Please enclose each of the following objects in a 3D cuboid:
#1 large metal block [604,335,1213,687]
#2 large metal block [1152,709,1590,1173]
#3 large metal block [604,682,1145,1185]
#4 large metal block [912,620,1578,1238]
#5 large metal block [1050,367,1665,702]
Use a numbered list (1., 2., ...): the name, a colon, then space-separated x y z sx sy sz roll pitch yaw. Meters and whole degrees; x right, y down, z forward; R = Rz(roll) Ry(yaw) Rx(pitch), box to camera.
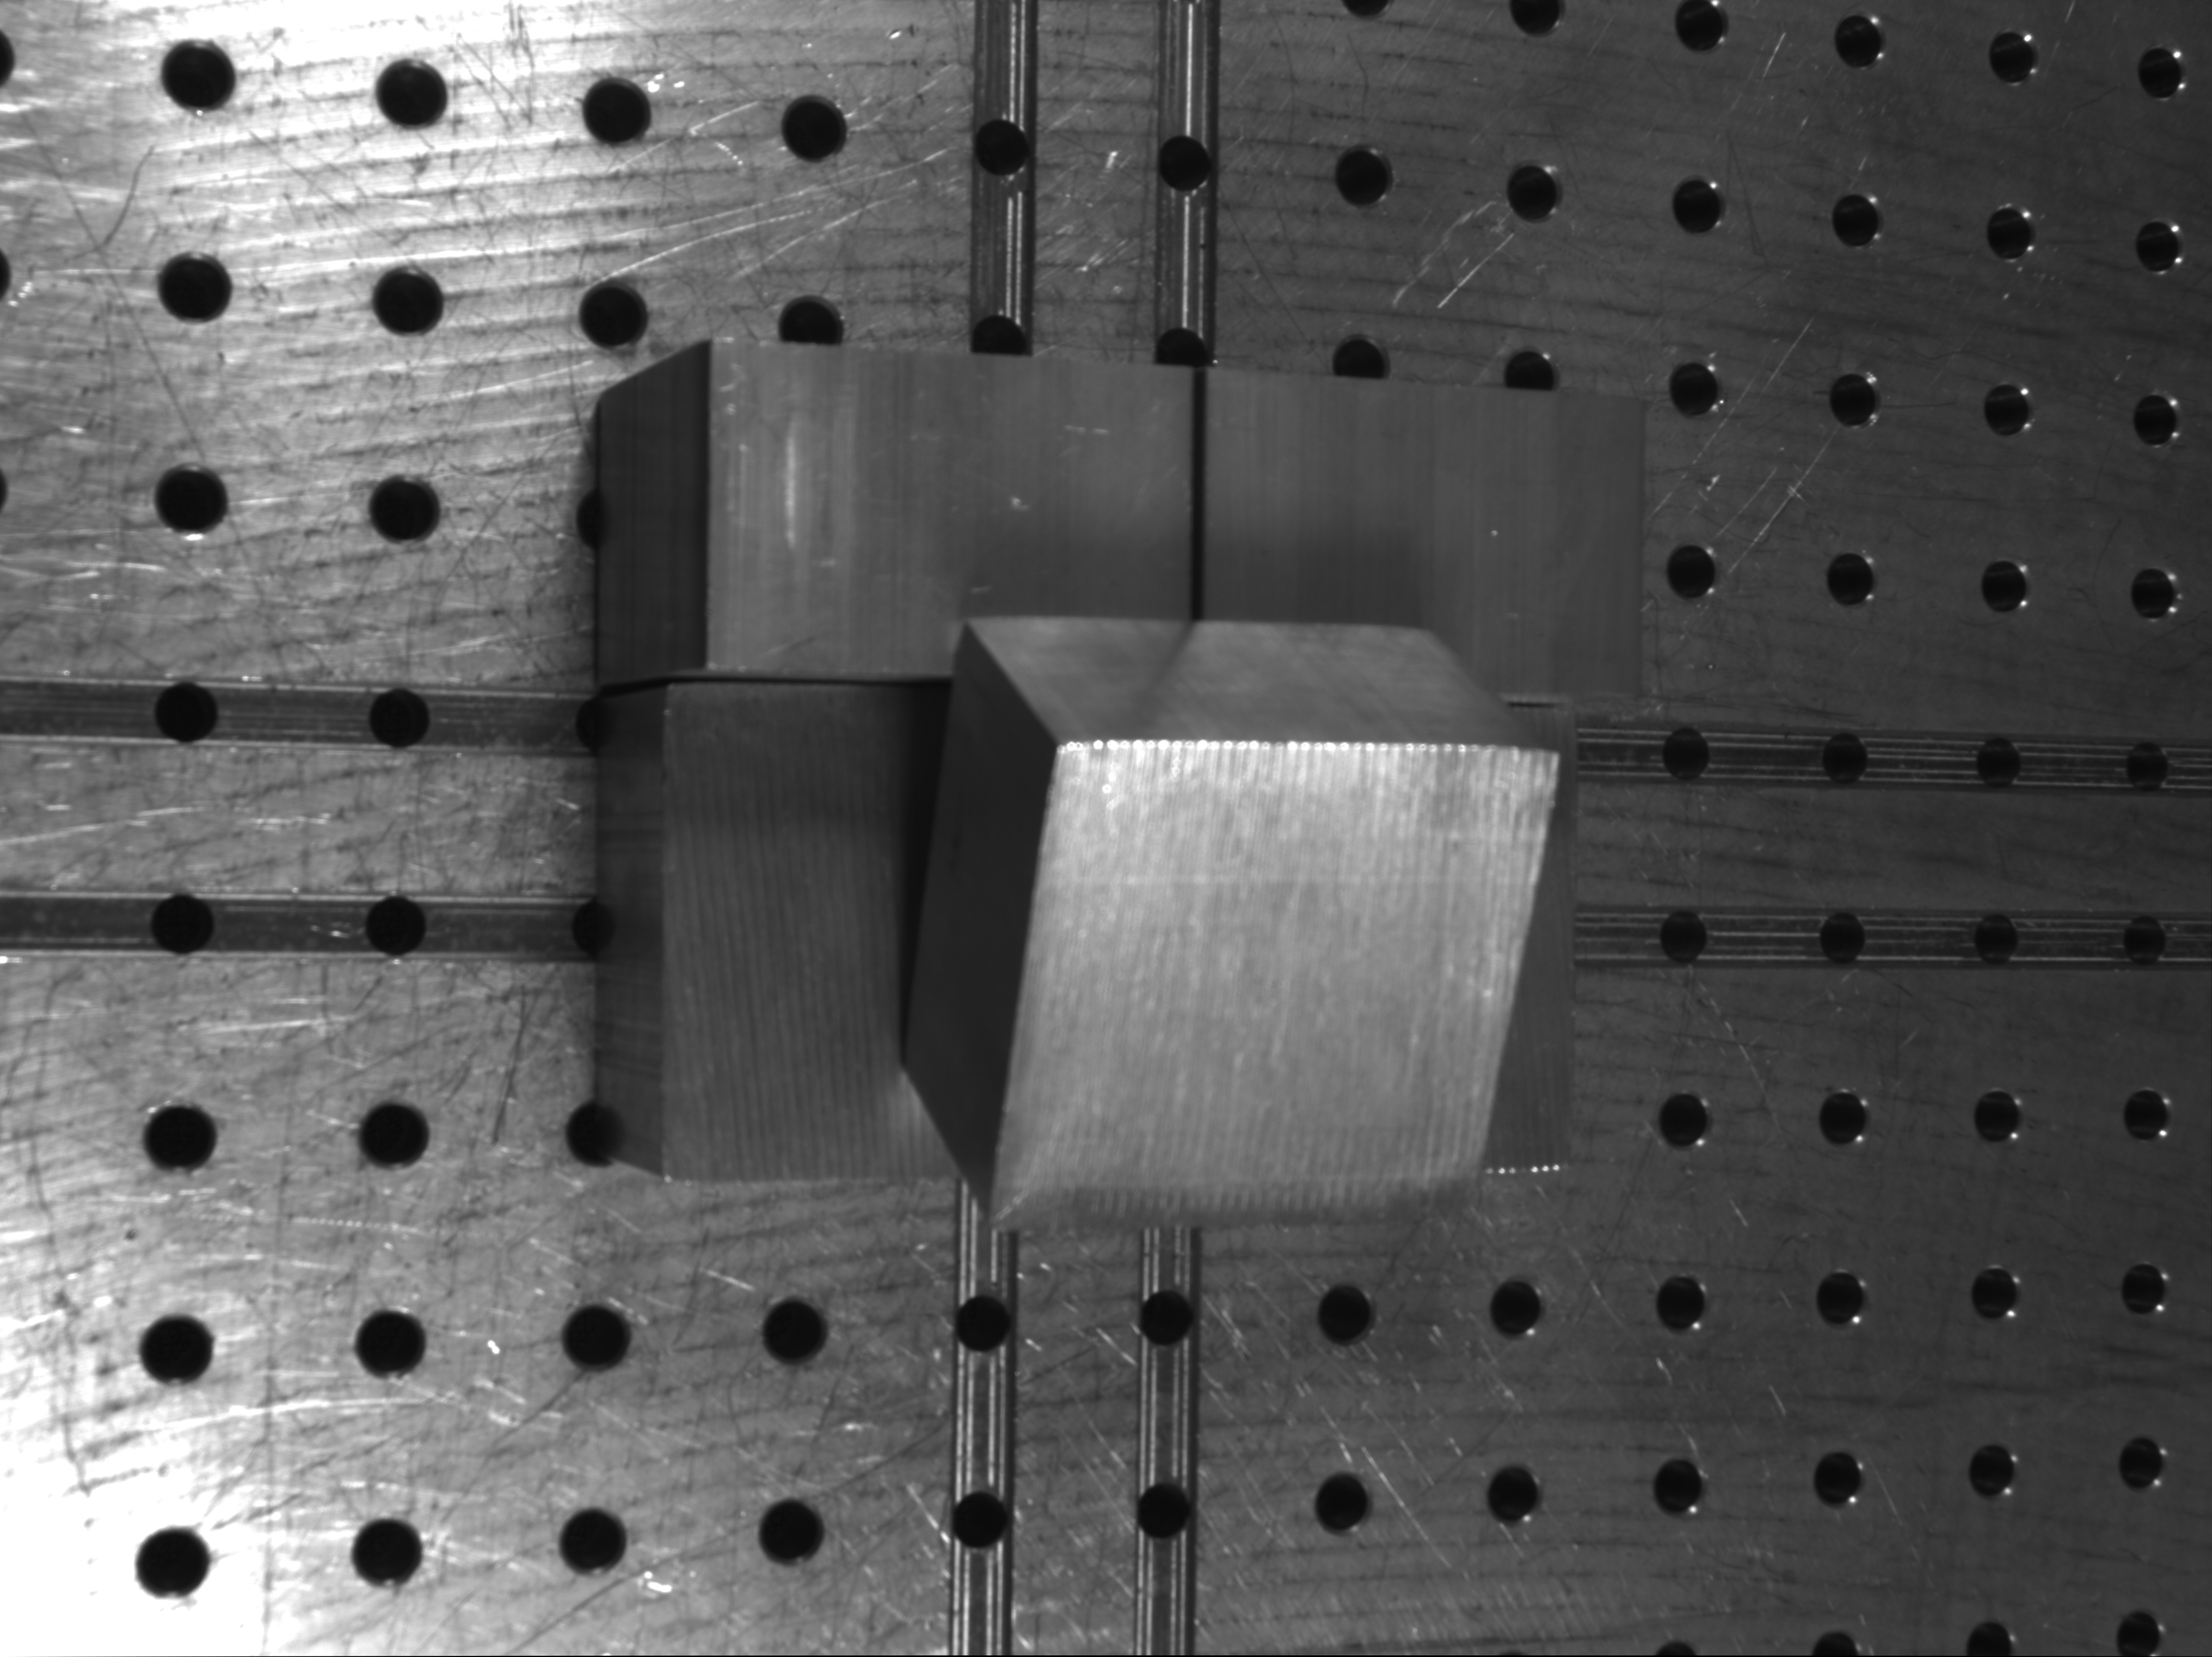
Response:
1. large metal block: -0.035 -0.049 0.603 0.080 0.080 0.050 1 90 -20
2. large metal block: 0.037 0.019 0.643 0.080 0.050 0.080 1 90 -20
3. large metal block: -0.039 0.017 0.616 0.080 0.050 0.080 1 90 -20
4. large metal block: 0.019 0.015 0.569 0.080 0.050 0.080 0 114 -20
5. large metal block: 0.041 -0.047 0.631 0.080 0.080 0.050 1 90 -20
